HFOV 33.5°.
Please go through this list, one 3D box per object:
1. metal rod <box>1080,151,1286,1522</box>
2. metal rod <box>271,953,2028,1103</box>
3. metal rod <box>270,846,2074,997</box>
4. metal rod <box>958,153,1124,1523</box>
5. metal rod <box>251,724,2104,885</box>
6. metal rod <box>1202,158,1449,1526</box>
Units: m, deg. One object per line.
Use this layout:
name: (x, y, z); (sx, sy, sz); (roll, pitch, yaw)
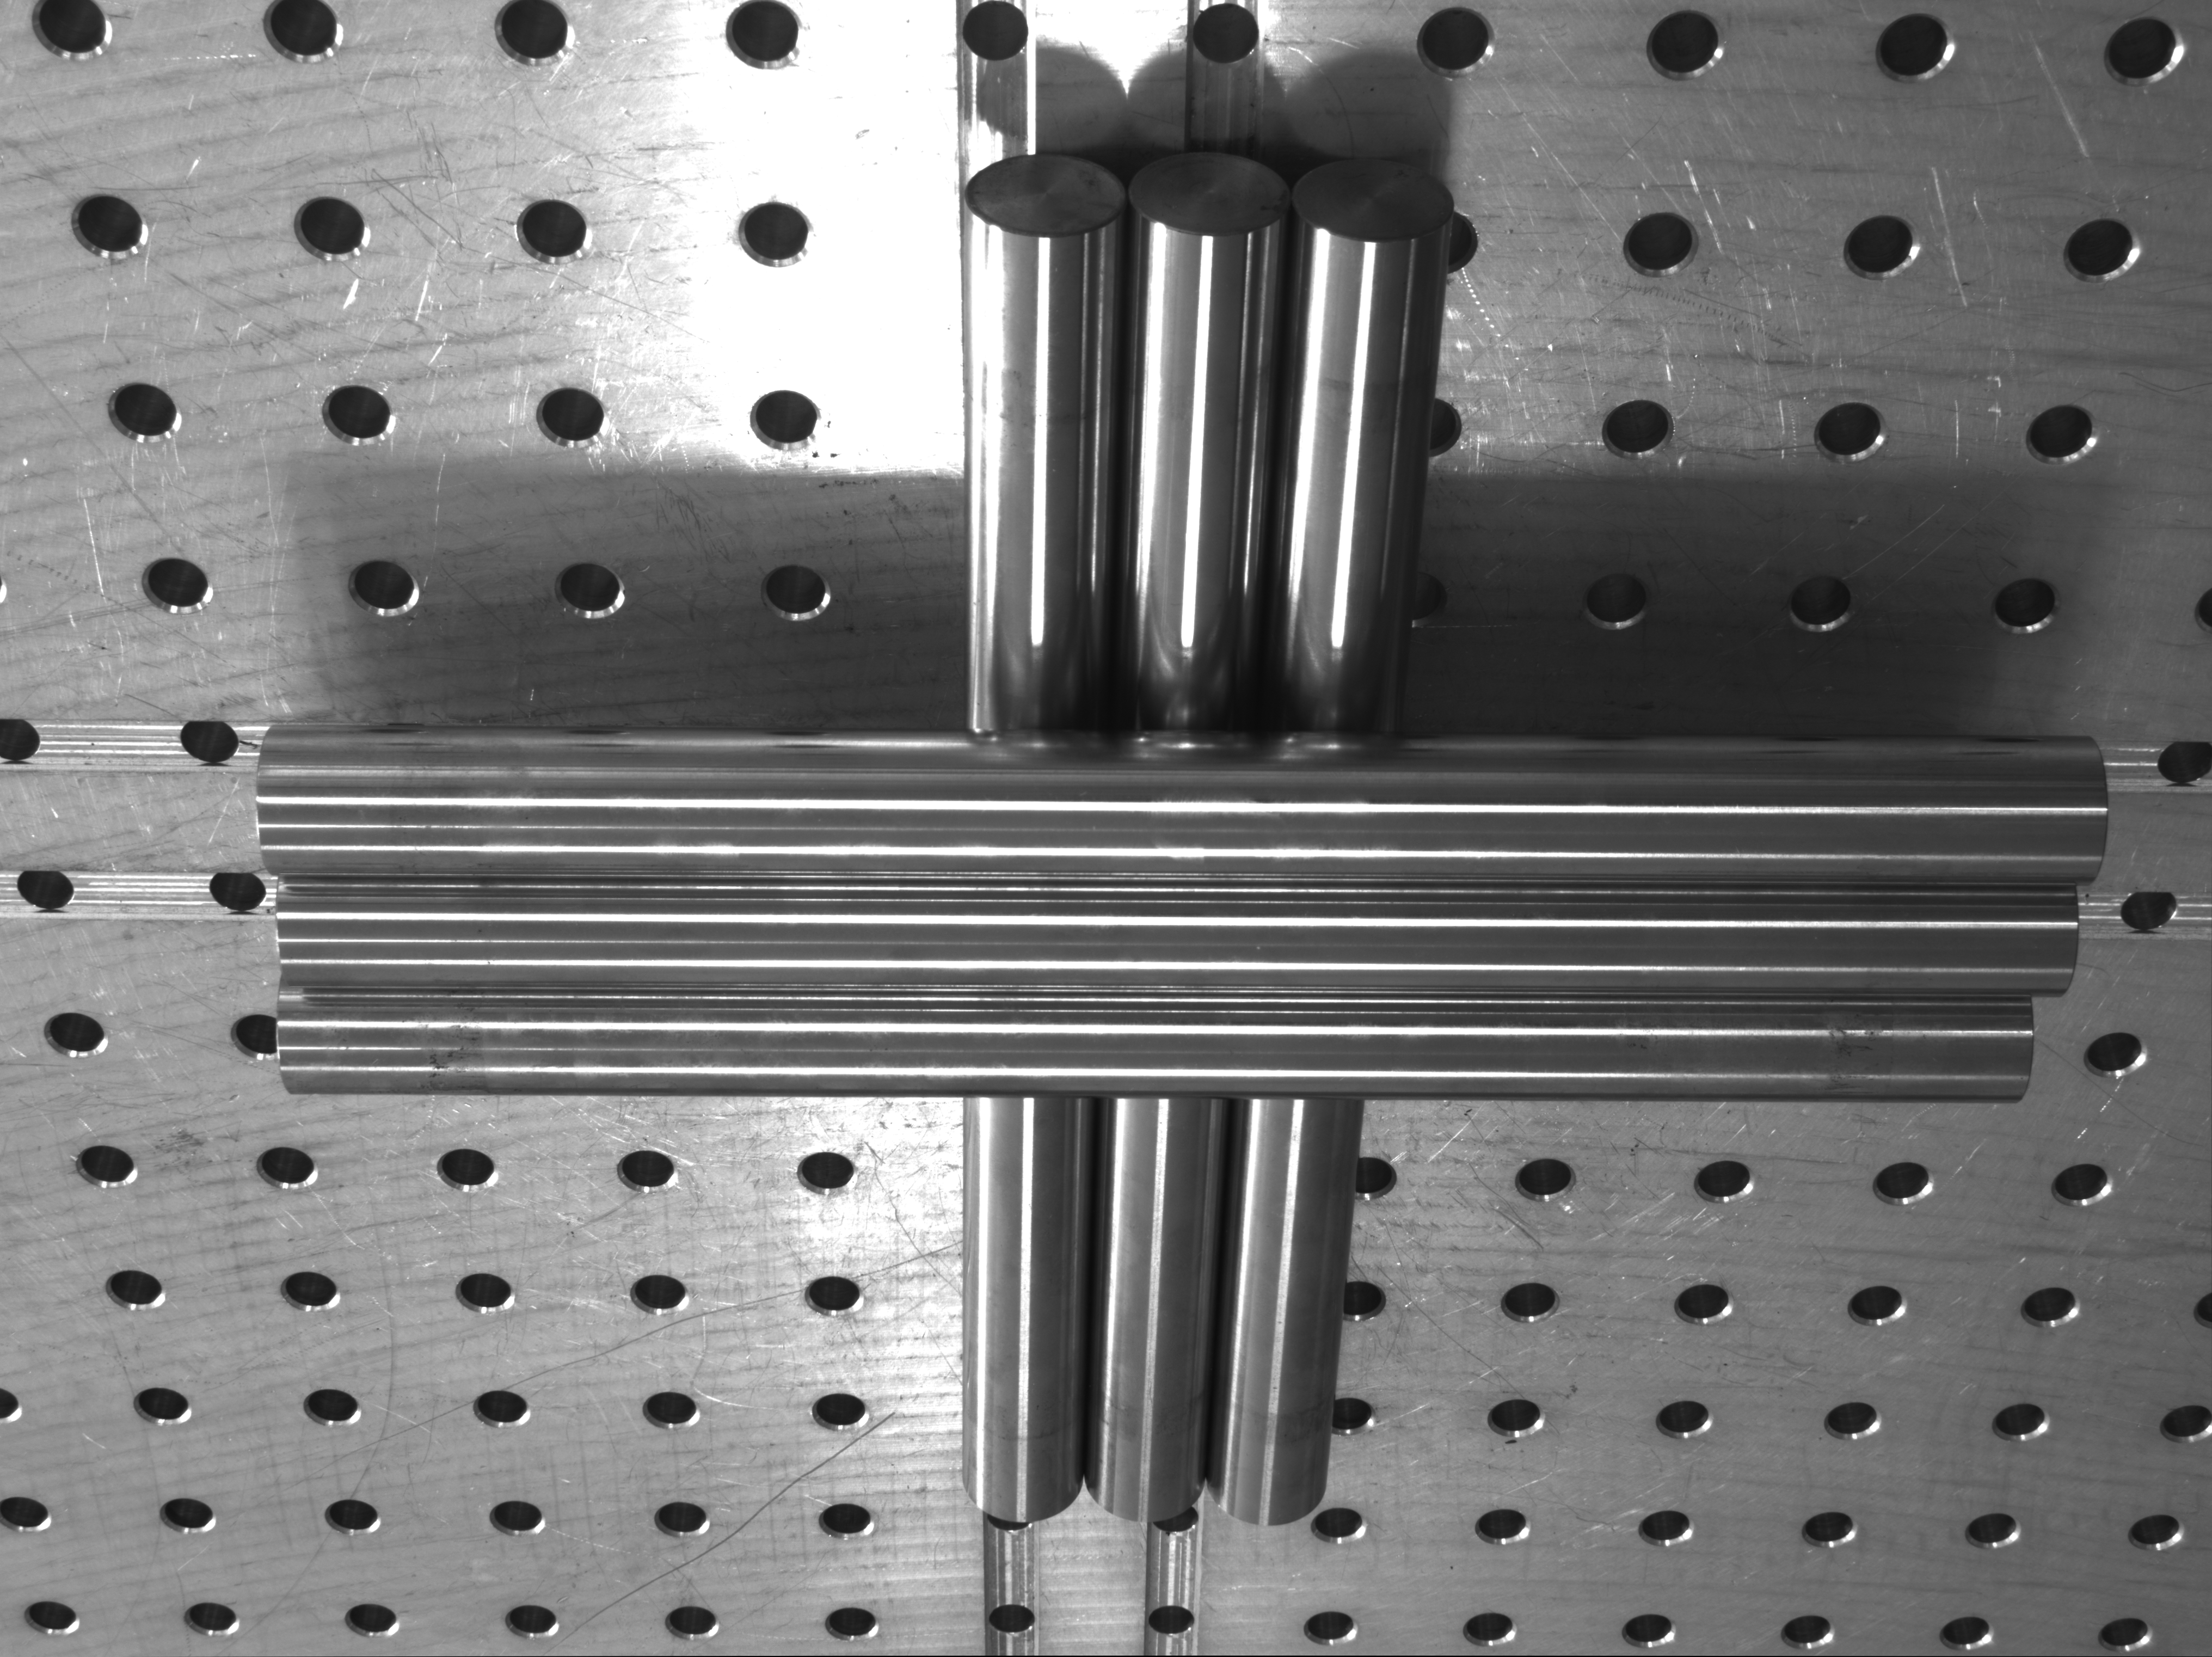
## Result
metal rod: (0.011, 0.018, 0.658); (0.025, 0.025, 0.300); (1, 130, -1)
metal rod: (0.008, 0.035, 0.639); (0.300, 0.025, 0.025); (0, 130, 0)
metal rod: (0.011, 0.015, 0.623); (0.300, 0.025, 0.025); (0, 130, 0)
metal rod: (-0.014, 0.018, 0.658); (0.025, 0.025, 0.300); (1, 130, -1)
metal rod: (0.012, -0.004, 0.607); (0.300, 0.025, 0.025); (0, 130, 0)
metal rod: (0.036, 0.019, 0.659); (0.025, 0.025, 0.300); (1, 130, -1)
